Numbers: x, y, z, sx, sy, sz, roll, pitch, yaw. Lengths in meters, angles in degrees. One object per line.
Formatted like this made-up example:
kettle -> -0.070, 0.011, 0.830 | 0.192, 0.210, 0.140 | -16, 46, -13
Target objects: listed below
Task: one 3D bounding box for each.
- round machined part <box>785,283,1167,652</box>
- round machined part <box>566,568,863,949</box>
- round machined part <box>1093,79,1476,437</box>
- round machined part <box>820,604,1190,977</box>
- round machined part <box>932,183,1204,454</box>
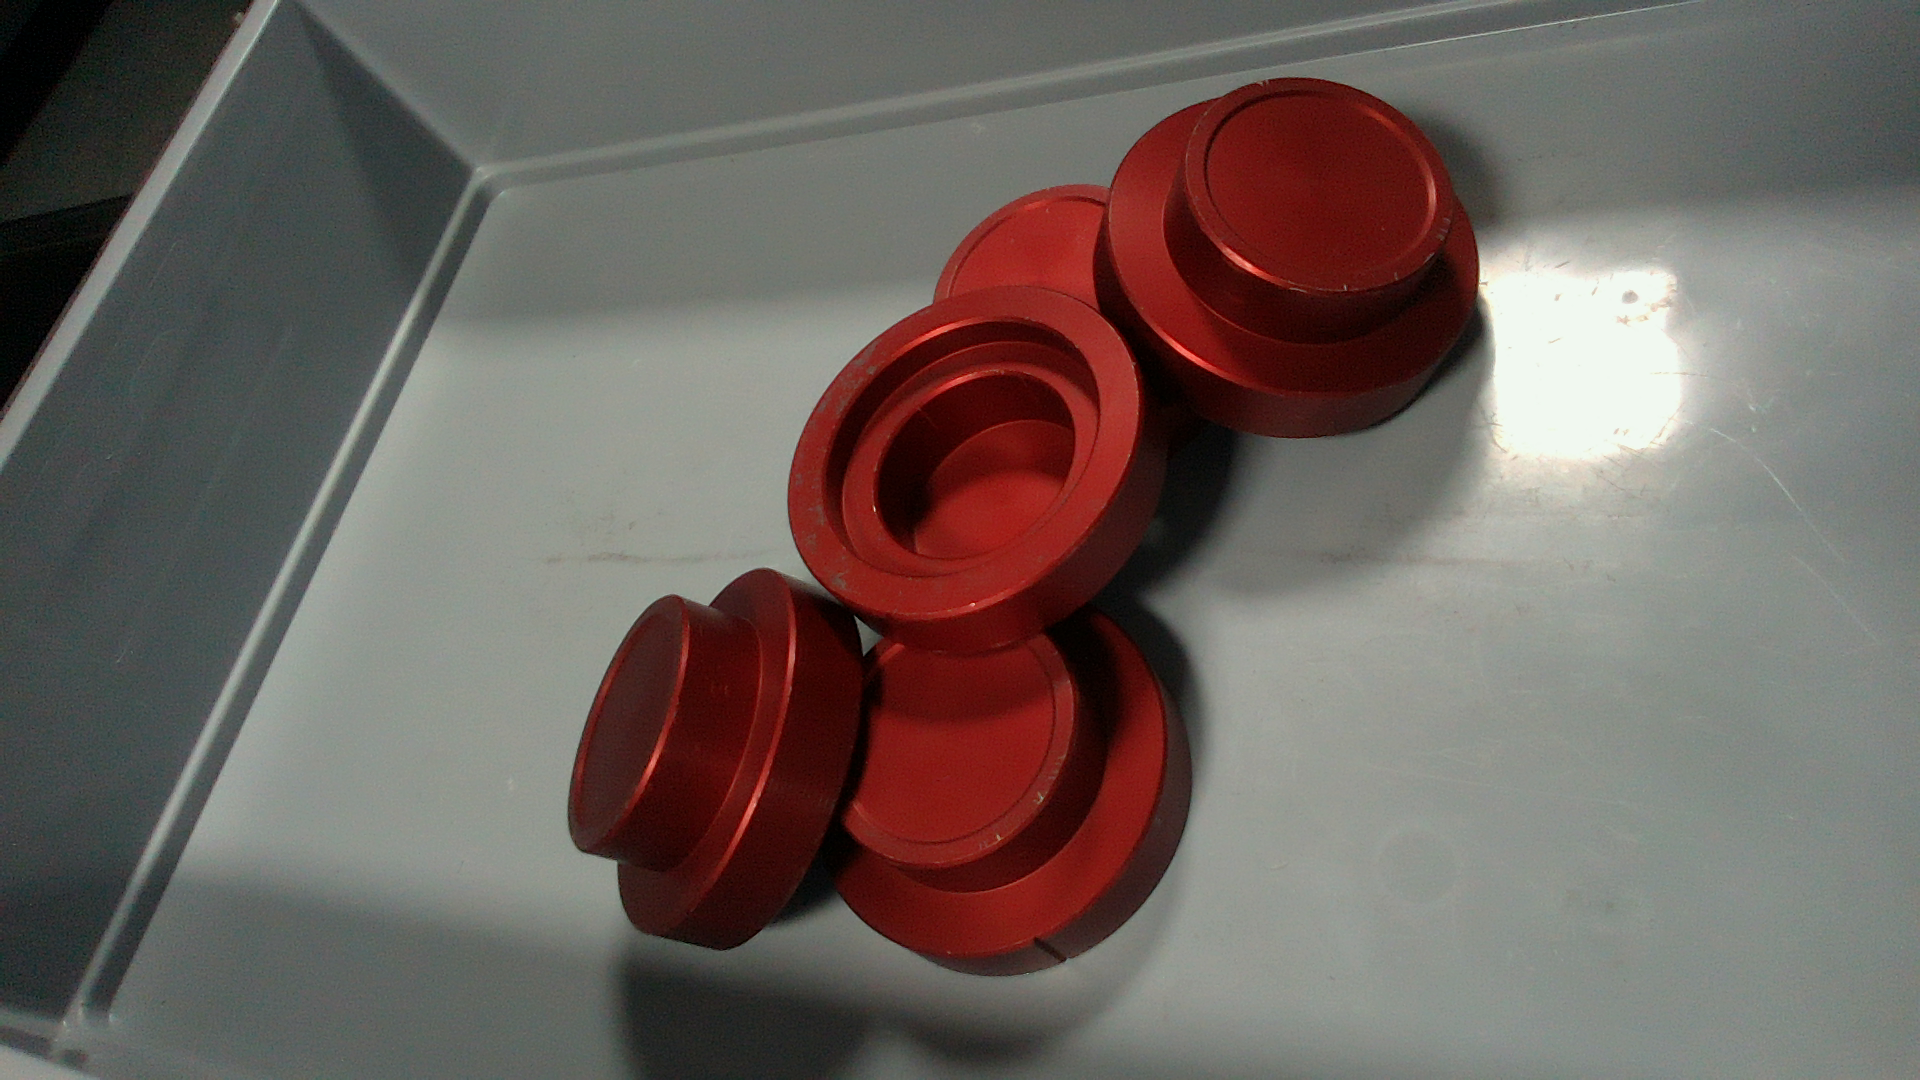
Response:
round machined part -> 0.007, -0.015, 0.358 | 0.098, 0.042, 0.098 | -13, 56, 21
round machined part -> -0.069, 0.053, 0.359 | 0.098, 0.042, 0.098 | -41, 37, 40
round machined part -> 0.086, -0.079, 0.356 | 0.098, 0.042, 0.098 | 3, 63, -5
round machined part -> 0.005, 0.055, 0.345 | 0.098, 0.042, 0.098 | -13, 56, 21
round machined part -> 0.030, -0.065, 0.405 | 0.098, 0.042, 0.098 | -13, 56, 21
